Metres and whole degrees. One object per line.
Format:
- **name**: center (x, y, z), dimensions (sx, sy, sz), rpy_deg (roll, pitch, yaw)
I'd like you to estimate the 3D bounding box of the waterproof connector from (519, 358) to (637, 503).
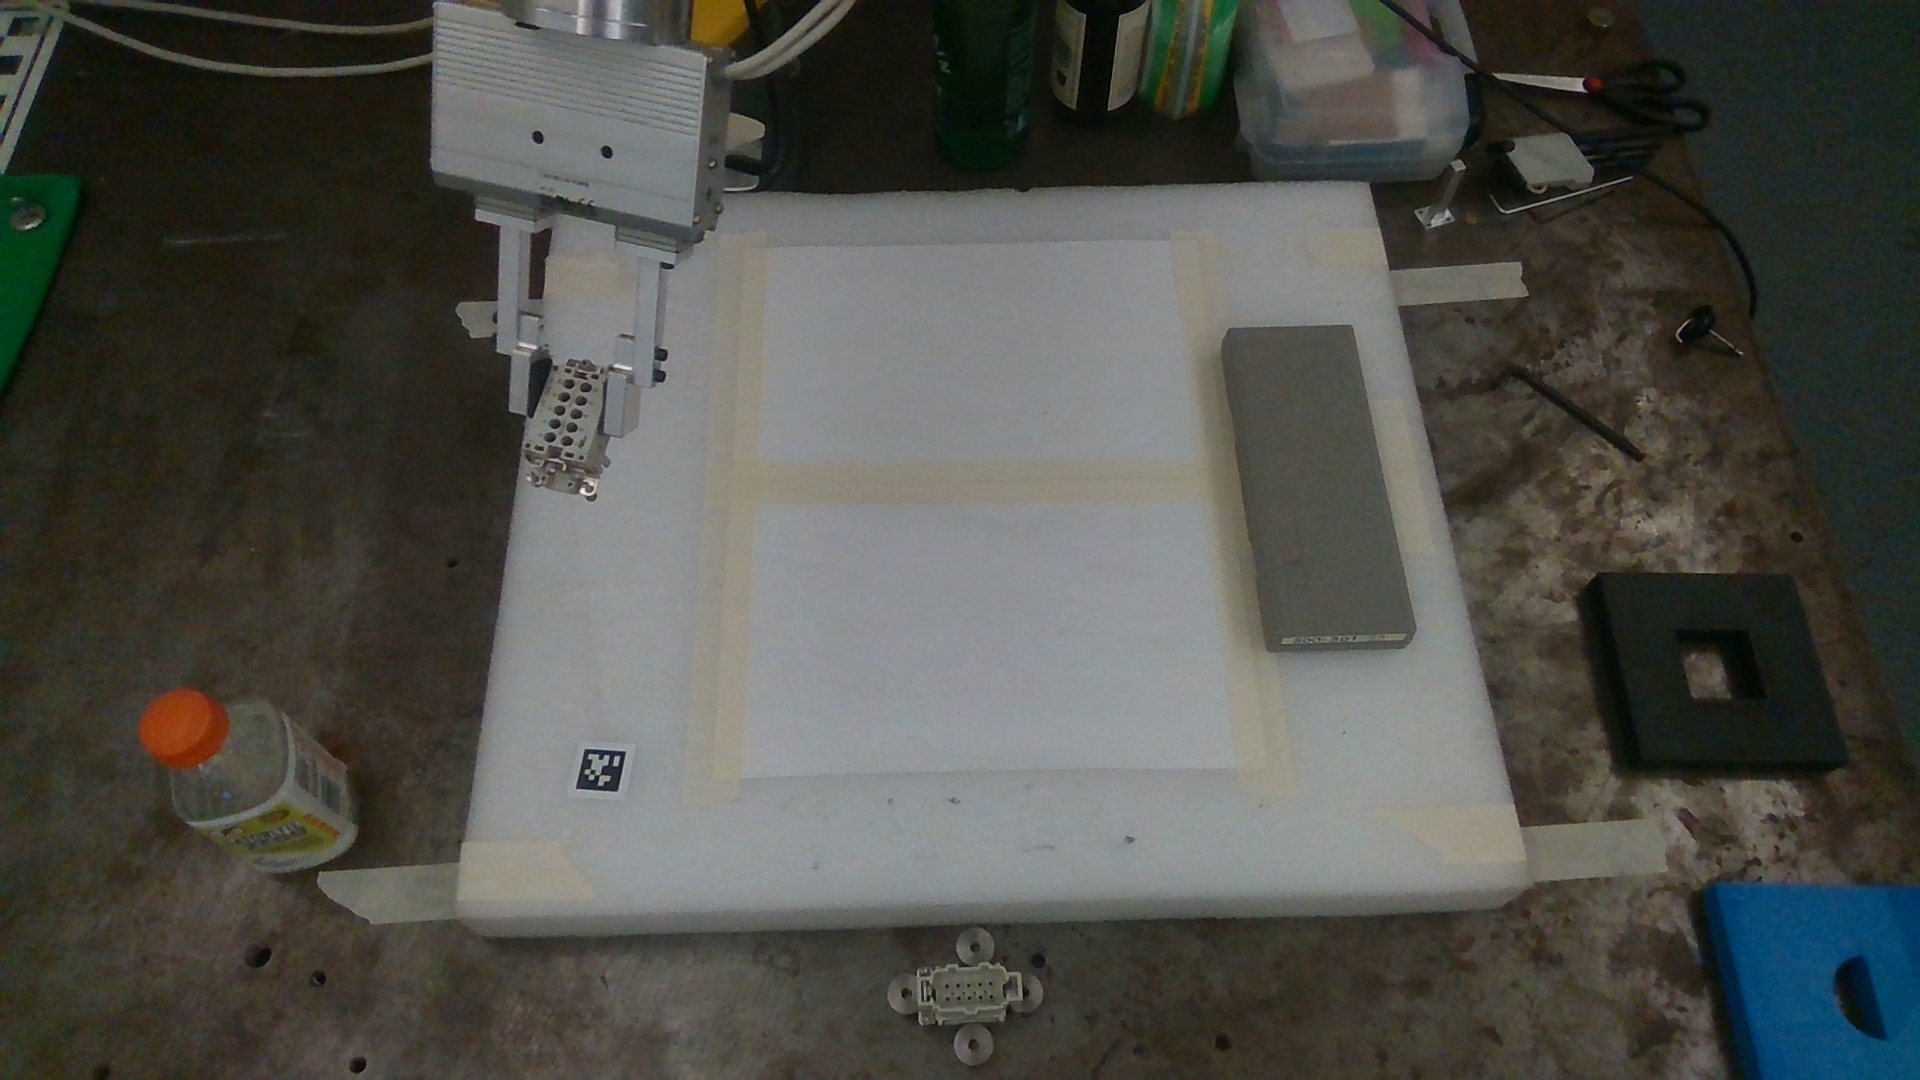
- **waterproof connector**: center (-0.182, -0.054, 0.662), dimensions (0.037, 0.038, 0.069), rpy_deg (13, 73, 6)
